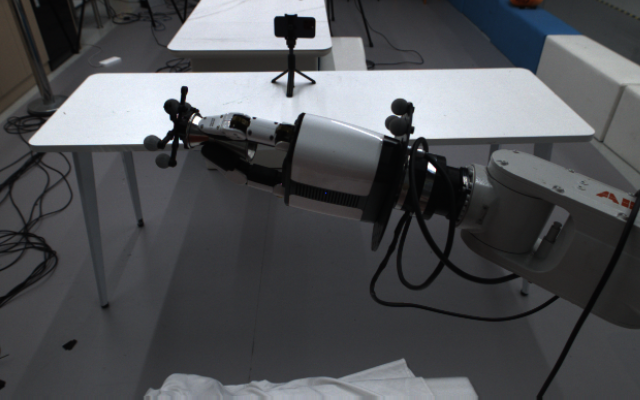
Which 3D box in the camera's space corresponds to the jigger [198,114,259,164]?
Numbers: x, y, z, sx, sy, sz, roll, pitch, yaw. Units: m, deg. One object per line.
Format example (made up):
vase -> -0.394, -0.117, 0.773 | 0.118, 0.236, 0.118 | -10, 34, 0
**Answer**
jigger -> -0.098, -0.071, 0.523 | 0.071, 0.043, 0.043 | 13, 36, 4
